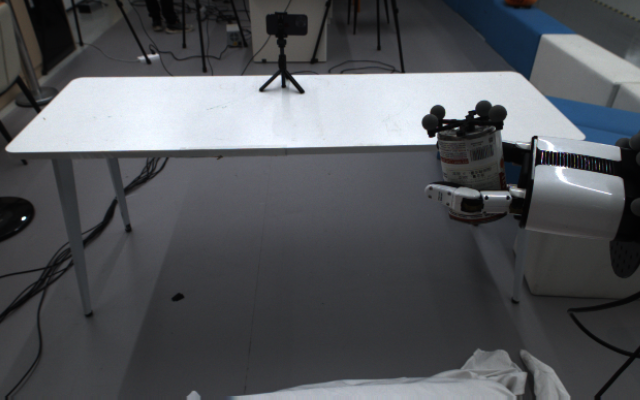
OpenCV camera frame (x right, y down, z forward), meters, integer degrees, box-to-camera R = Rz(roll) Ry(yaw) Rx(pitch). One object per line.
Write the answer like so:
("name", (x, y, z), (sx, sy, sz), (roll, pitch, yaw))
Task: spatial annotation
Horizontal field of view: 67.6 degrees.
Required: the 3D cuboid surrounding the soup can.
("soup can", (0.174, -0.033, 0.540), (0.067, 0.101, 0.067), (-13, 20, 5))
